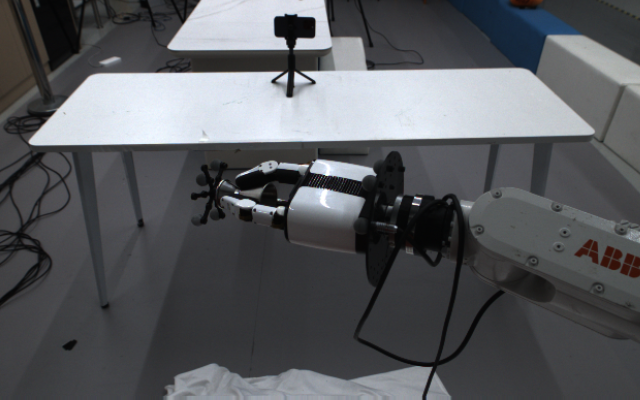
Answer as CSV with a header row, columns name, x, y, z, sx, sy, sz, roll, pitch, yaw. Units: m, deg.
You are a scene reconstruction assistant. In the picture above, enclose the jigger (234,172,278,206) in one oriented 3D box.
name,x,y,z,sx,sy,sz,roll,pitch,yaw
jigger,-0.090,-0.006,0.625,0.071,0.043,0.043,7,34,23
